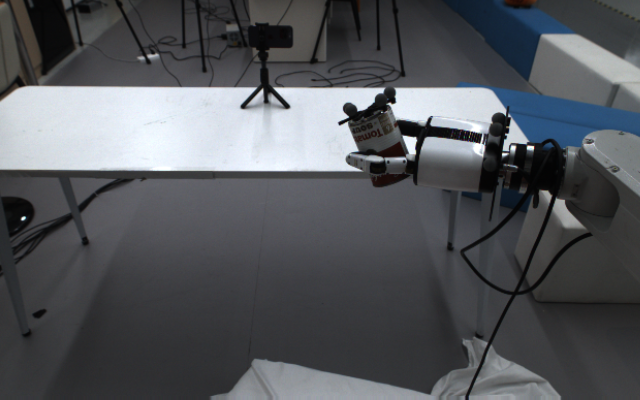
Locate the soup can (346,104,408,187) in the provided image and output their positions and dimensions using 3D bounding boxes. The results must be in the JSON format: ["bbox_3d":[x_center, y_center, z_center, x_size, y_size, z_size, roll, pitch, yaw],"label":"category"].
[{"bbox_3d":[0.091,-0.079,0.708,0.067,0.101,0.067,-23,16,7],"label":"soup can"}]
